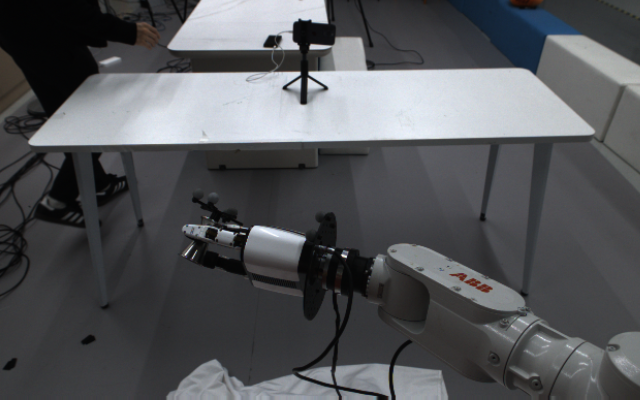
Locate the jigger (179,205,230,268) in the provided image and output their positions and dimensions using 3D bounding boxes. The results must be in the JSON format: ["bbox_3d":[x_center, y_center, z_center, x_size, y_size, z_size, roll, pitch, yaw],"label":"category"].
[{"bbox_3d":[-0.183,0.060,0.739,0.043,0.043,0.071,20,74,24],"label":"jigger"}]
